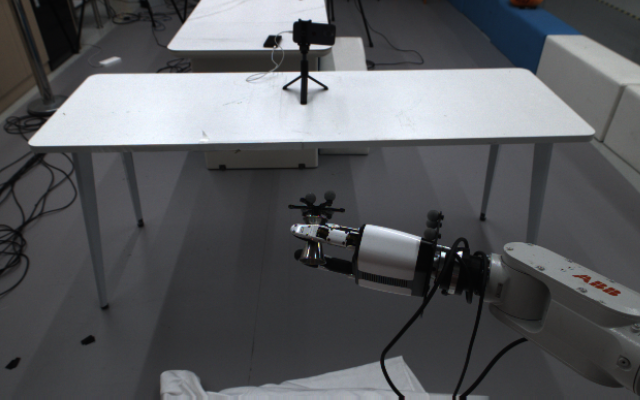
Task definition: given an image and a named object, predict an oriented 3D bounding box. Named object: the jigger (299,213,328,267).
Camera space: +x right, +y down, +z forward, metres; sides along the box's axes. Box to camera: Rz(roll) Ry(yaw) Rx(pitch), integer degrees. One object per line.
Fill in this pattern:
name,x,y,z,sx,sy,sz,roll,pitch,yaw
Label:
jigger,-0.012,0.061,0.745,0.043,0.043,0.071,5,71,4
